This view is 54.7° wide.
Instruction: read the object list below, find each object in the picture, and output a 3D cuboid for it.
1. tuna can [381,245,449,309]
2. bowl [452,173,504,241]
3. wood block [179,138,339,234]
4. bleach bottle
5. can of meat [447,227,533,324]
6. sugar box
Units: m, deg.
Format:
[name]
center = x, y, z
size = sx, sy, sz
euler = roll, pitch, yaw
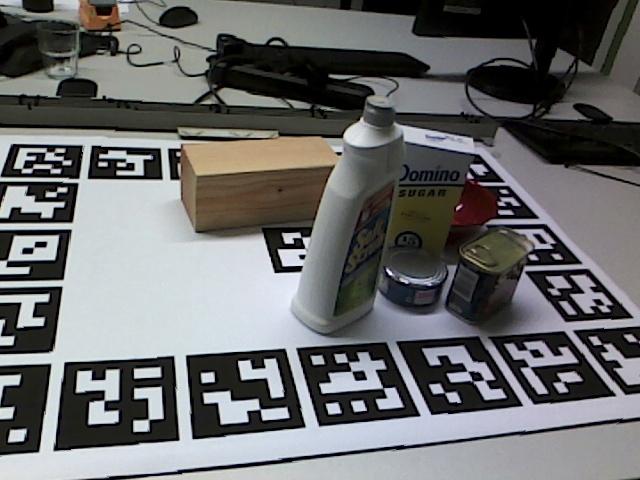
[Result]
[tuna can]
center = 0.111, 0.045, 0.755
size = 0.085, 0.033, 0.086
euler = 6, 37, -5
[bowl]
center = 0.177, -0.046, 0.892
size = 0.161, 0.055, 0.162
euler = 3, 34, -2
[wood block]
center = -0.081, -0.078, 0.852
size = 0.205, 0.090, 0.091
euler = -6, 41, -24
[bleach bottle]
center = 0.036, -0.026, 0.652
size = 0.102, 0.250, 0.068
euler = -20, 42, -36
[can of meat]
center = 0.202, 0.042, 0.747
size = 0.101, 0.083, 0.058
euler = -22, 42, -40
[sugar box]
center = 0.128, -0.049, 0.771
size = 0.093, 0.176, 0.045
euler = 8, 35, 4
